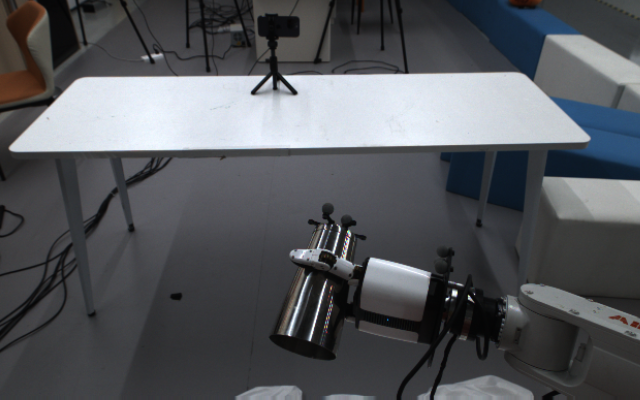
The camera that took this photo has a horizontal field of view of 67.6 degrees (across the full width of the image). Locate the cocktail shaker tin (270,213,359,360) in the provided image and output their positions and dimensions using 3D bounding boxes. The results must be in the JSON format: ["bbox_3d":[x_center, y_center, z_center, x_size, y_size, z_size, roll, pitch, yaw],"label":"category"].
[{"bbox_3d":[0.004,0.121,0.664,0.093,0.093,0.170,10,59,11],"label":"cocktail shaker tin"}]
